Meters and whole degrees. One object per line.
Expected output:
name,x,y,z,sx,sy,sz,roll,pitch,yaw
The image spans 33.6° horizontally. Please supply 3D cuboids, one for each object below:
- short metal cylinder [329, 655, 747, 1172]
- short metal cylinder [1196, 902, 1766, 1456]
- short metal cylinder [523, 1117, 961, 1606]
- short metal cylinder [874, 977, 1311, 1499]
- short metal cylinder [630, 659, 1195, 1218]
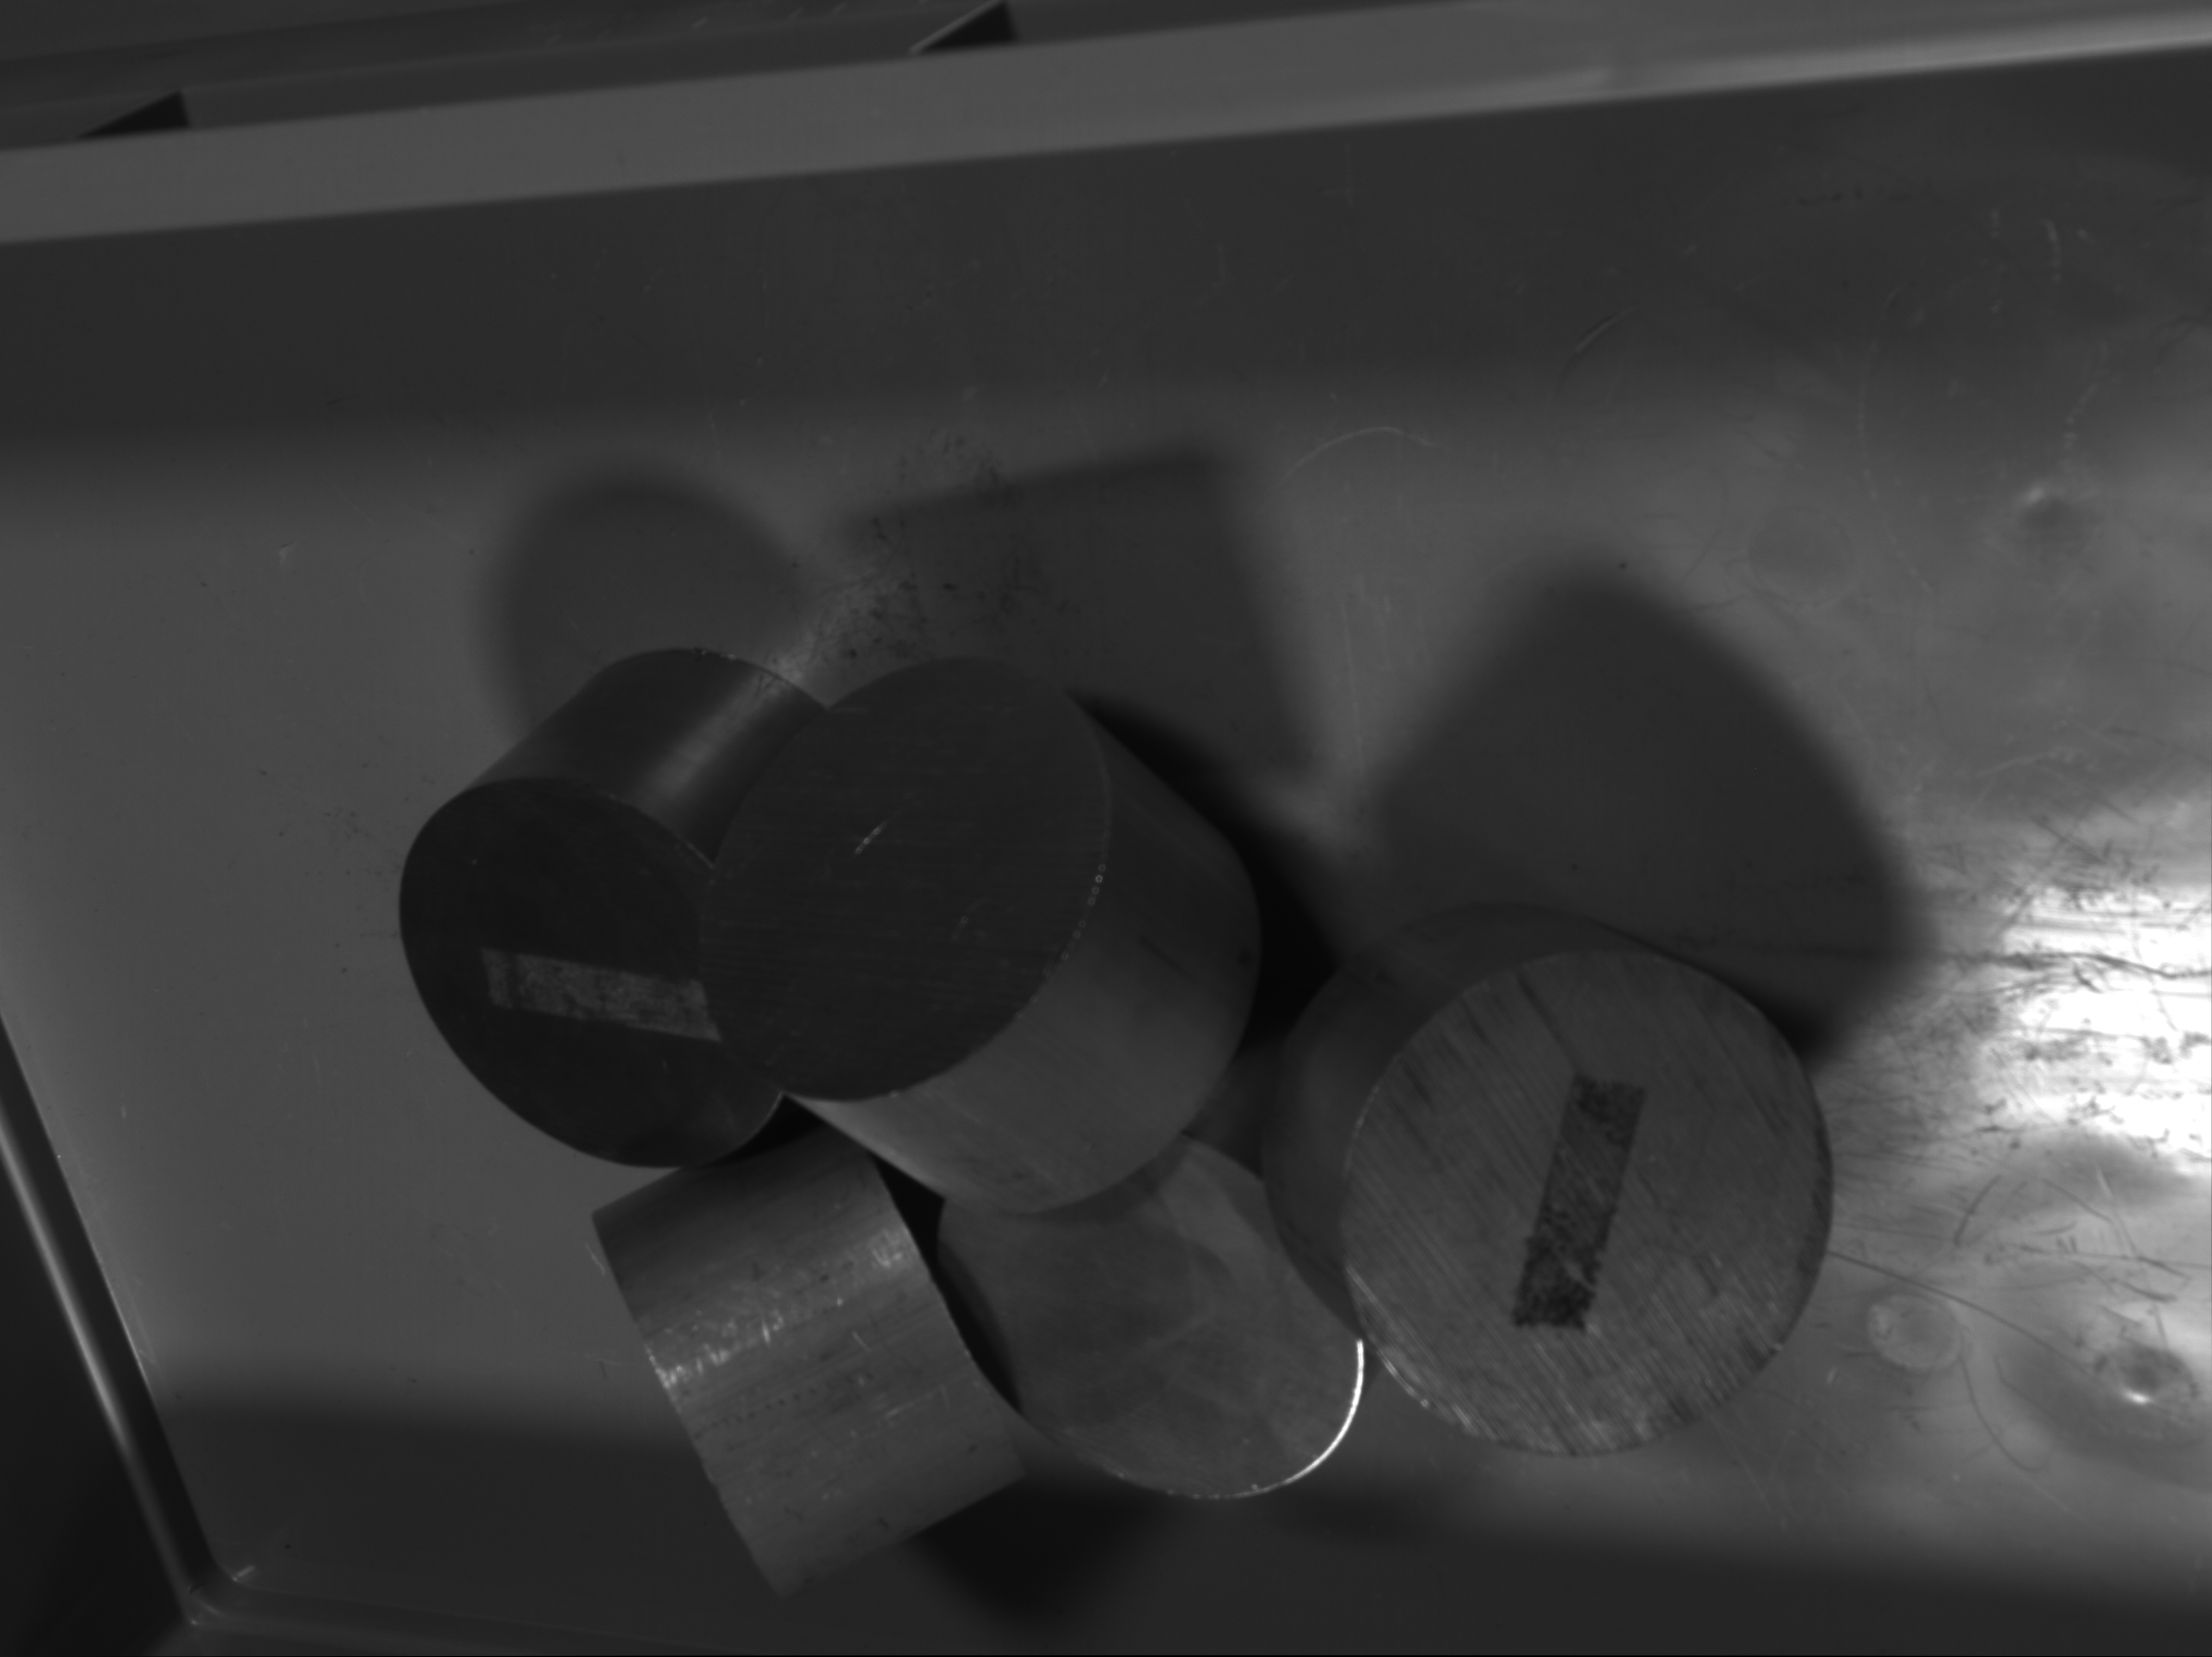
short metal cylinder,-0.094,0.015,0.669,0.080,0.050,0.080,12,123,20
short metal cylinder,0.059,0.055,0.591,0.080,0.050,0.080,-2,98,-12
short metal cylinder,-0.067,0.096,0.678,0.050,0.080,0.080,-27,109,-8
short metal cylinder,0.006,0.072,0.654,0.080,0.050,0.080,12,123,20
short metal cylinder,-0.032,0.019,0.613,0.080,0.080,0.050,-8,150,30
